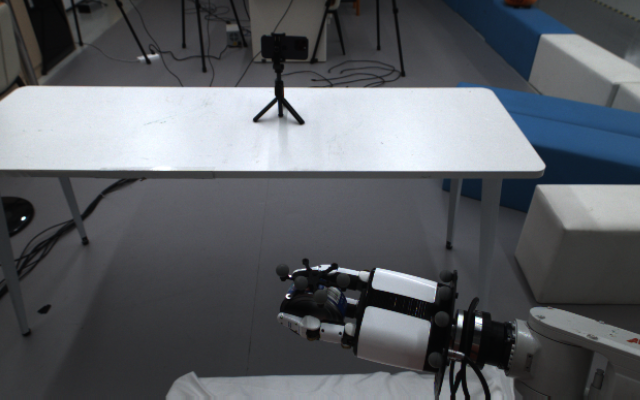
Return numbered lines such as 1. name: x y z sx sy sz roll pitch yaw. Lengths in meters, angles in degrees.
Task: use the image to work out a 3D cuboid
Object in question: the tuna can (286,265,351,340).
1. tuna can: -0.004 0.142 0.641 0.085 0.085 0.034 10 34 12
